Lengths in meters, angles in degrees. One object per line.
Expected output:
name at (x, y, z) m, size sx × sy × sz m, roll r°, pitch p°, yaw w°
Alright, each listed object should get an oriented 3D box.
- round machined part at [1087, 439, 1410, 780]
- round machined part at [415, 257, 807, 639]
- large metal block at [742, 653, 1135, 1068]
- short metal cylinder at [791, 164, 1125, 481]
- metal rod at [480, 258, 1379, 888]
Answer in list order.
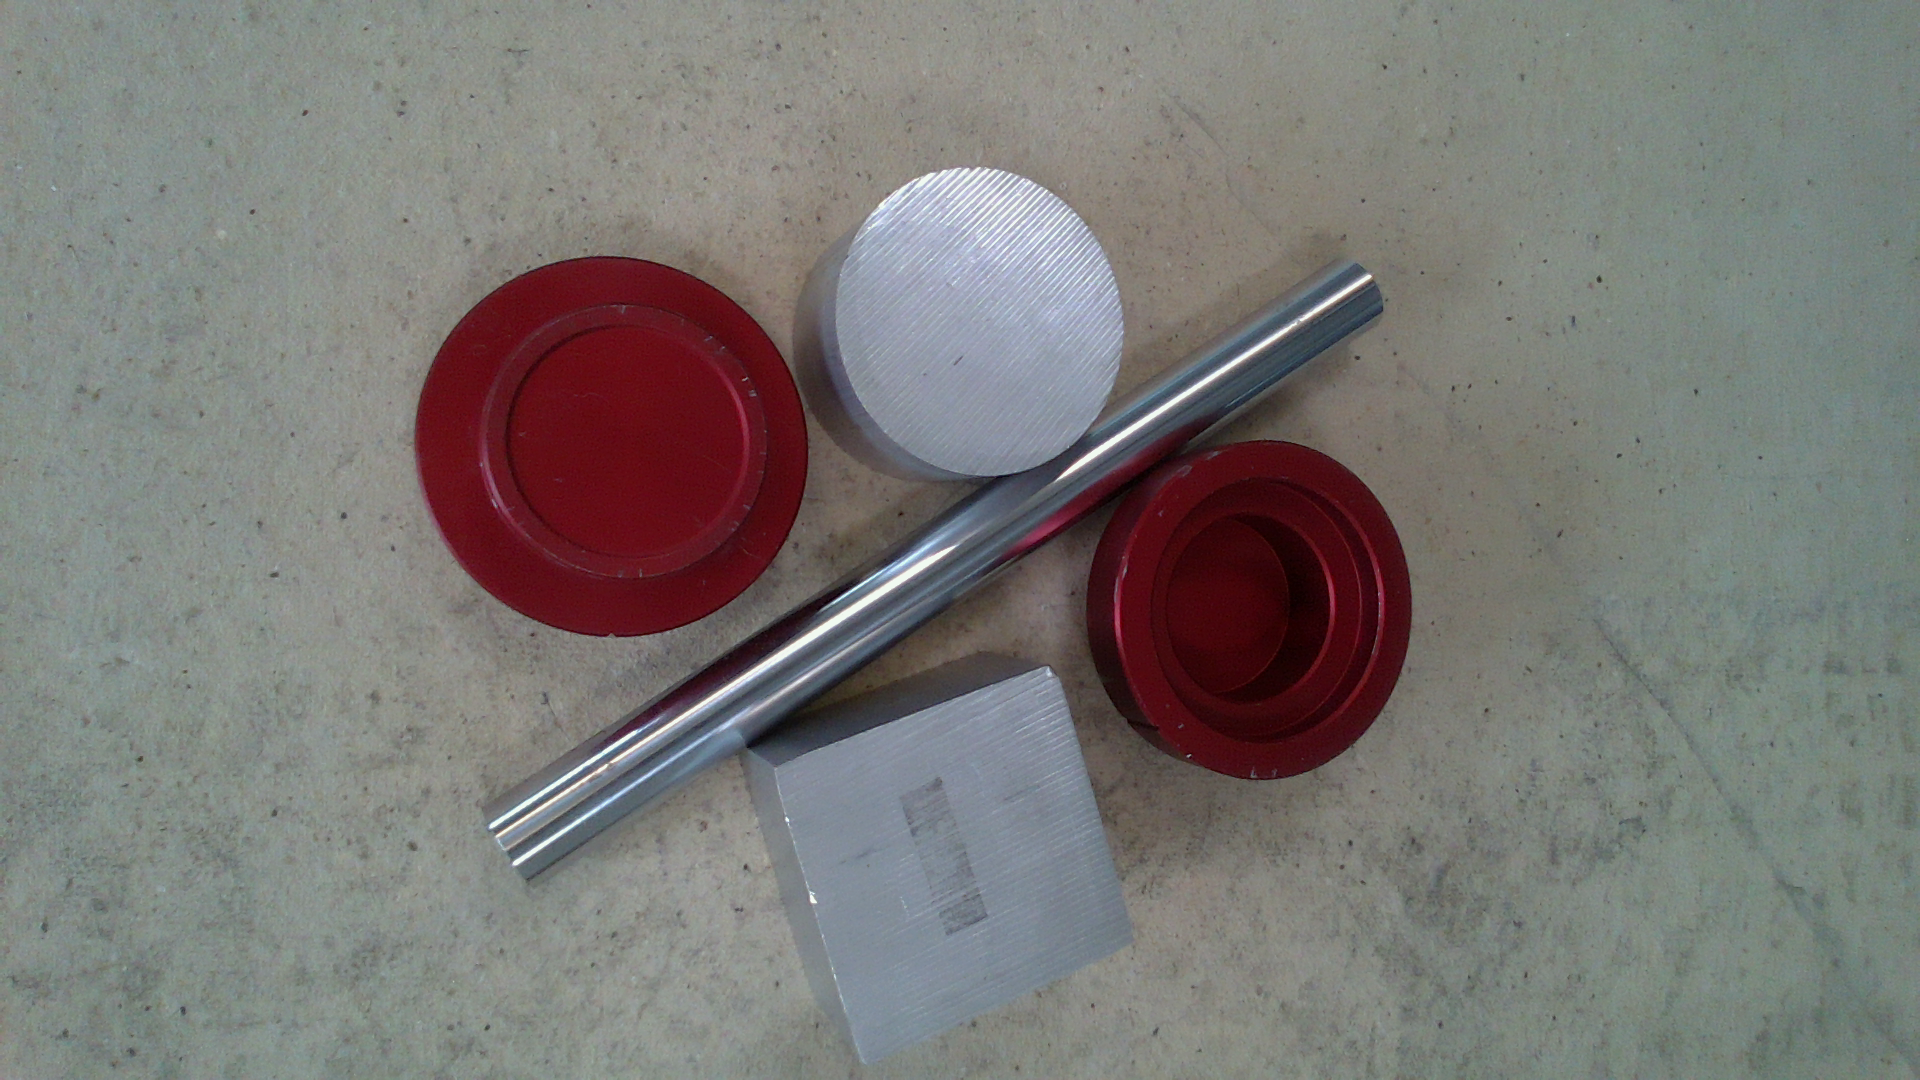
round machined part at (0.082, 0.020, 0.414) m, size 0.098 × 0.042 × 0.098 m, roll 0°, pitch 90°, yaw -20°
round machined part at (-0.087, -0.024, 0.352) m, size 0.098 × 0.042 × 0.098 m, roll 0°, pitch 90°, yaw -20°
large metal block at (-0.008, 0.083, 0.378) m, size 0.080 × 0.050 × 0.080 m, roll -18°, pitch 96°, yaw -19°
short metal cylinder at (-0.002, -0.057, 0.379) m, size 0.080 × 0.050 × 0.080 m, roll 0°, pitch 90°, yaw -20°
metal rod at (0.004, 0.000, 0.396) m, size 0.301 × 0.025 × 0.025 m, roll -33°, pitch 101°, yaw -17°
